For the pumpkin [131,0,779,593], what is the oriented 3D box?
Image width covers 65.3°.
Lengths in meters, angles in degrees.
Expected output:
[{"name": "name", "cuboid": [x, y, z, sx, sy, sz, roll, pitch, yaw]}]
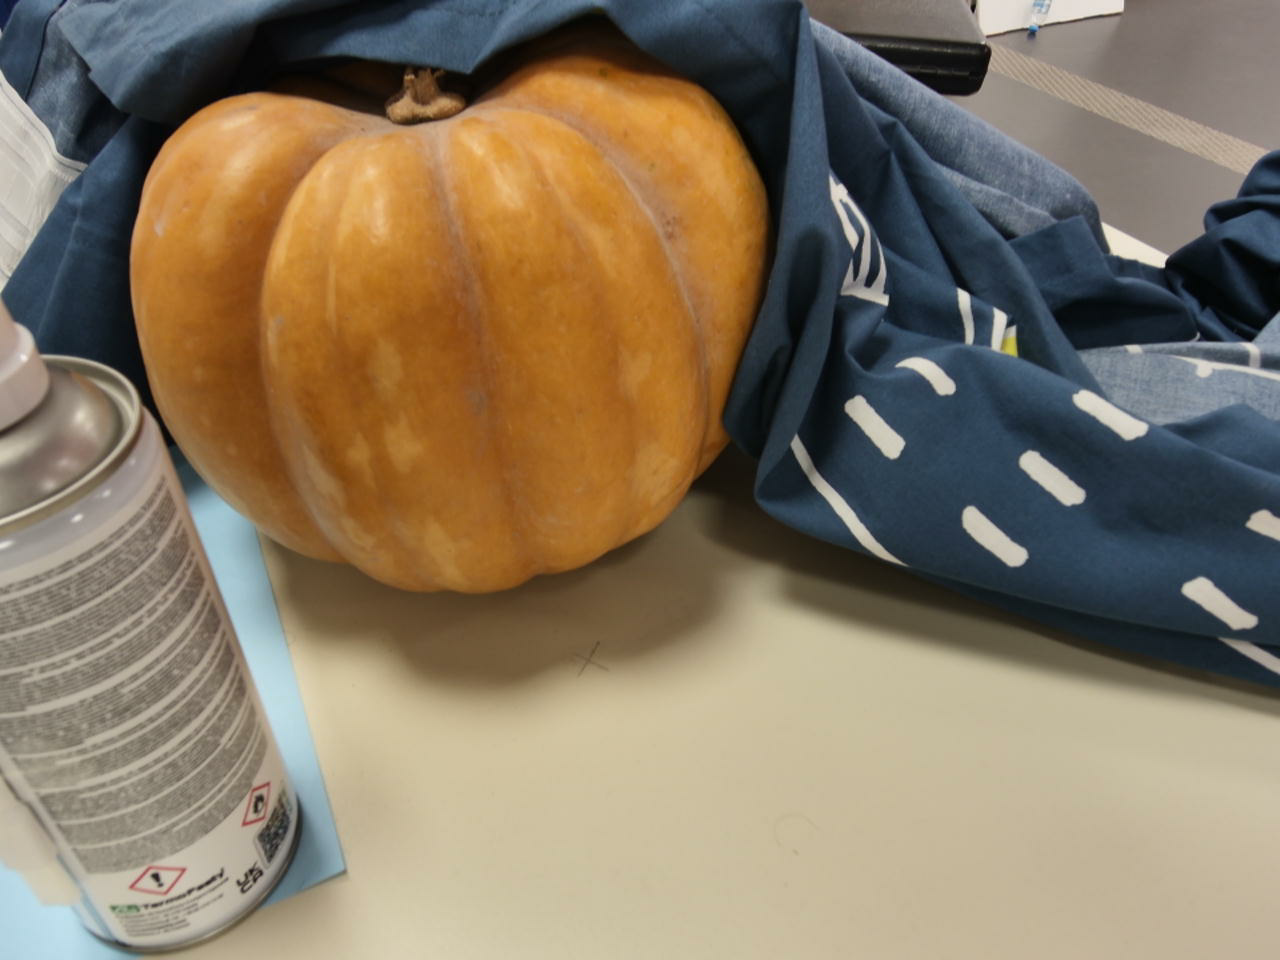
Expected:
[{"name": "pumpkin", "cuboid": [-0.060, -0.067, 0.372, 0.230, 0.194, 0.230, 0, 38, 0]}]
